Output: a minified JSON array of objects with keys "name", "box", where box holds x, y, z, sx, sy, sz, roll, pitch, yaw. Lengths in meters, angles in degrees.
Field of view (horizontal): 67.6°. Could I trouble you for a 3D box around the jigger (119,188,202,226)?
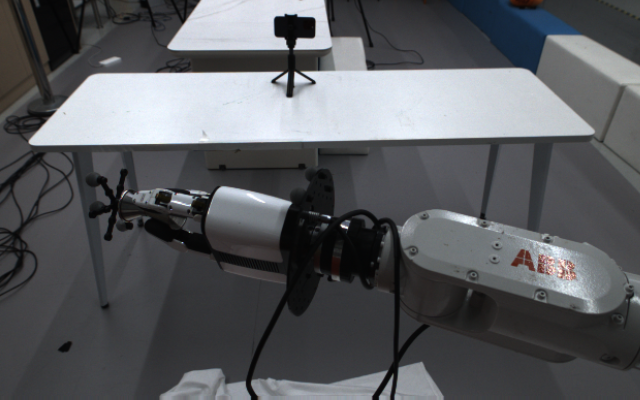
[{"name":"jigger","box":[-0.192,0.006,0.575,0.071,0.043,0.043,4,34,13]}]
